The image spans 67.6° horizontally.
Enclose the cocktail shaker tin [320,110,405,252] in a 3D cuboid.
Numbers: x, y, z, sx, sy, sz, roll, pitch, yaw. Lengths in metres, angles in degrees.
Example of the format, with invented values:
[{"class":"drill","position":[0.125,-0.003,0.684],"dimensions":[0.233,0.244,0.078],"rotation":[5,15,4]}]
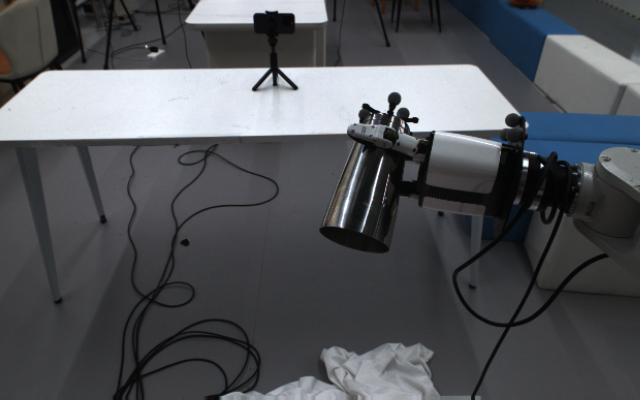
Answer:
[{"class":"cocktail shaker tin","position":[0.069,-0.028,0.641],"dimensions":[0.093,0.093,0.170],"rotation":[13,72,15]}]
